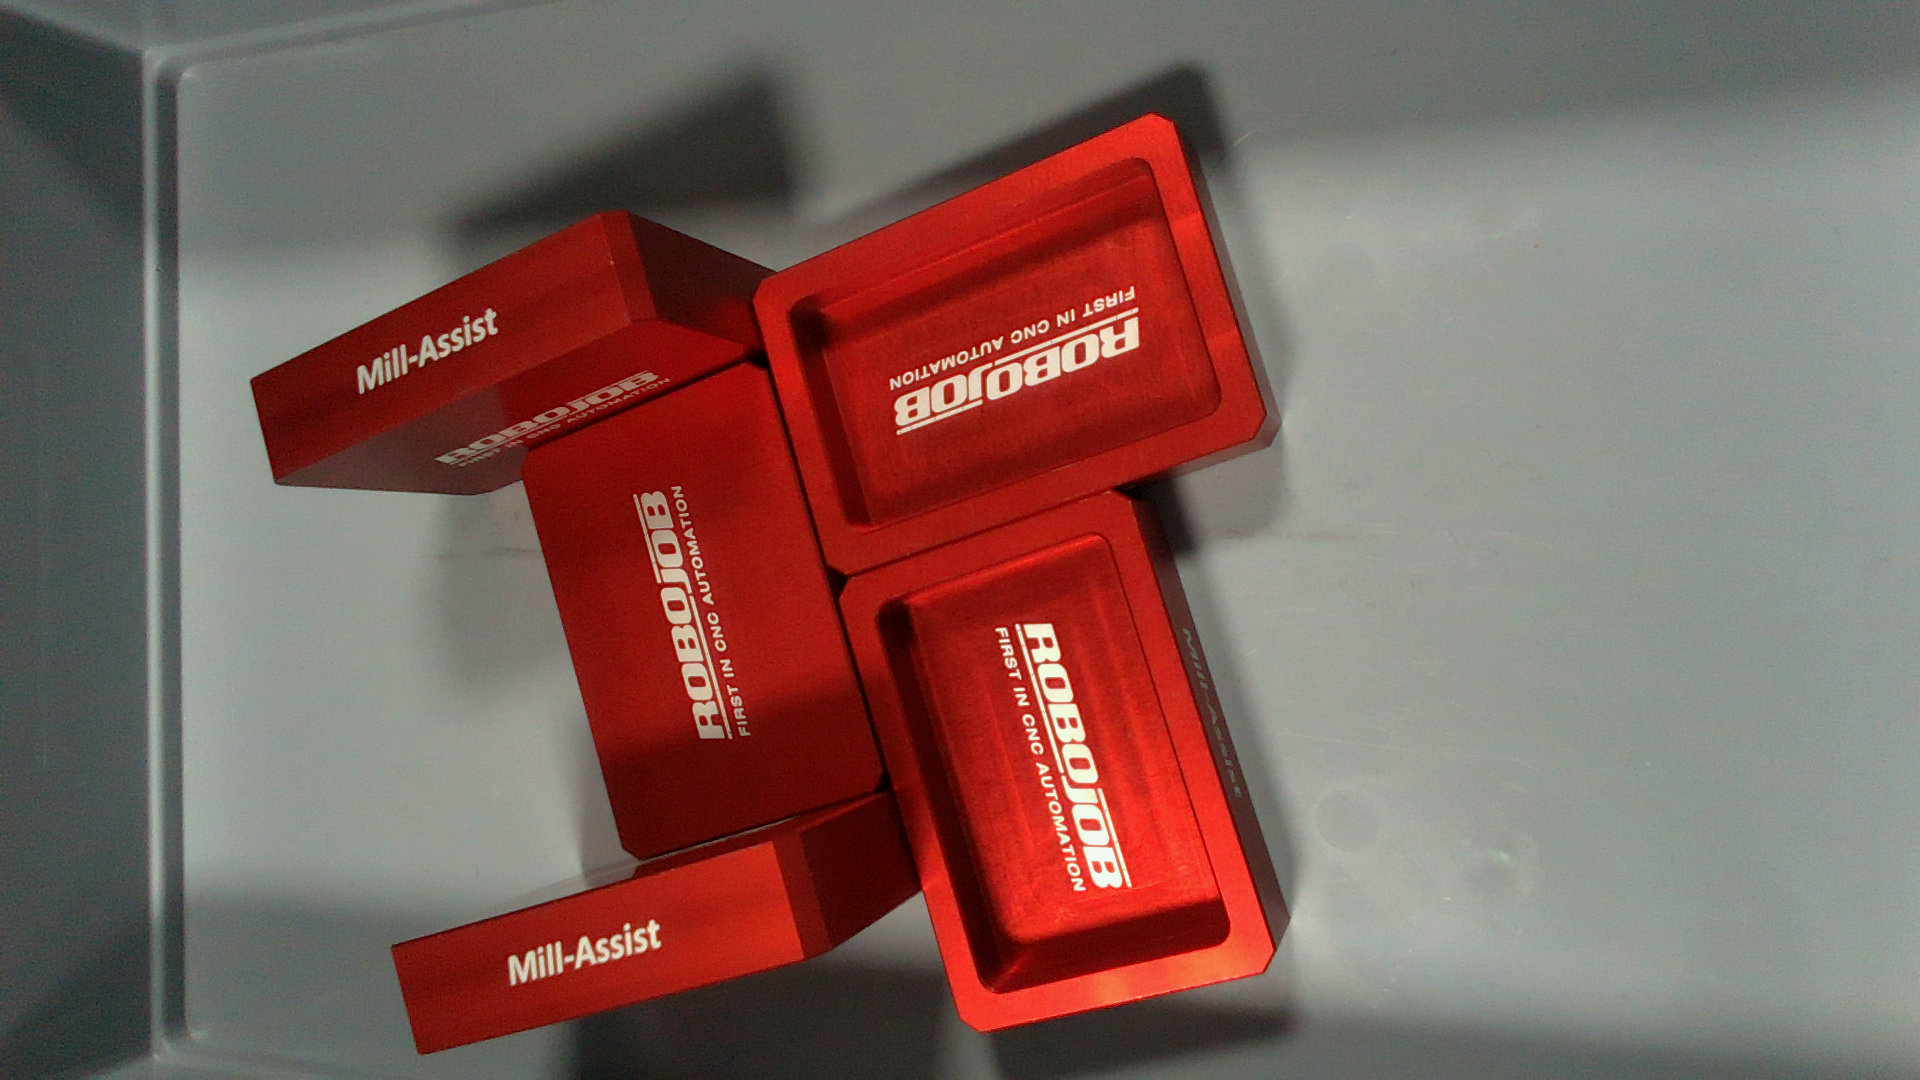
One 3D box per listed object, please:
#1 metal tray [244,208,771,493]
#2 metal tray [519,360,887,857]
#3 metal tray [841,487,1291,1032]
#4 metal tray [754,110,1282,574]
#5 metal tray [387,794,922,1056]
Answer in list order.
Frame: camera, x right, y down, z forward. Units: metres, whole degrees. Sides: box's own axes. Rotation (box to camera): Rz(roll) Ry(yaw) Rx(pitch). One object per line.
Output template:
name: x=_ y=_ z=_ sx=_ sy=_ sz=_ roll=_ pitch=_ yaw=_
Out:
metal tray: x=-0.126 y=-0.049 z=0.403 sx=0.130 sy=0.090 sz=0.030 roll=-19 pitch=84 yaw=19
metal tray: x=-0.074 y=0.022 z=0.418 sx=0.090 sy=0.030 sz=0.130 roll=-18 pitch=84 yaw=19
metal tray: x=0.028 y=0.060 z=0.382 sx=0.090 sy=0.030 sz=0.130 roll=-18 pitch=84 yaw=19
metal tray: x=0.014 y=-0.051 z=0.387 sx=0.130 sy=0.030 sz=0.090 roll=-18 pitch=84 yaw=19
metal tray: x=-0.079 y=0.104 z=0.388 sx=0.130 sy=0.090 sz=0.030 roll=-19 pitch=84 yaw=19
